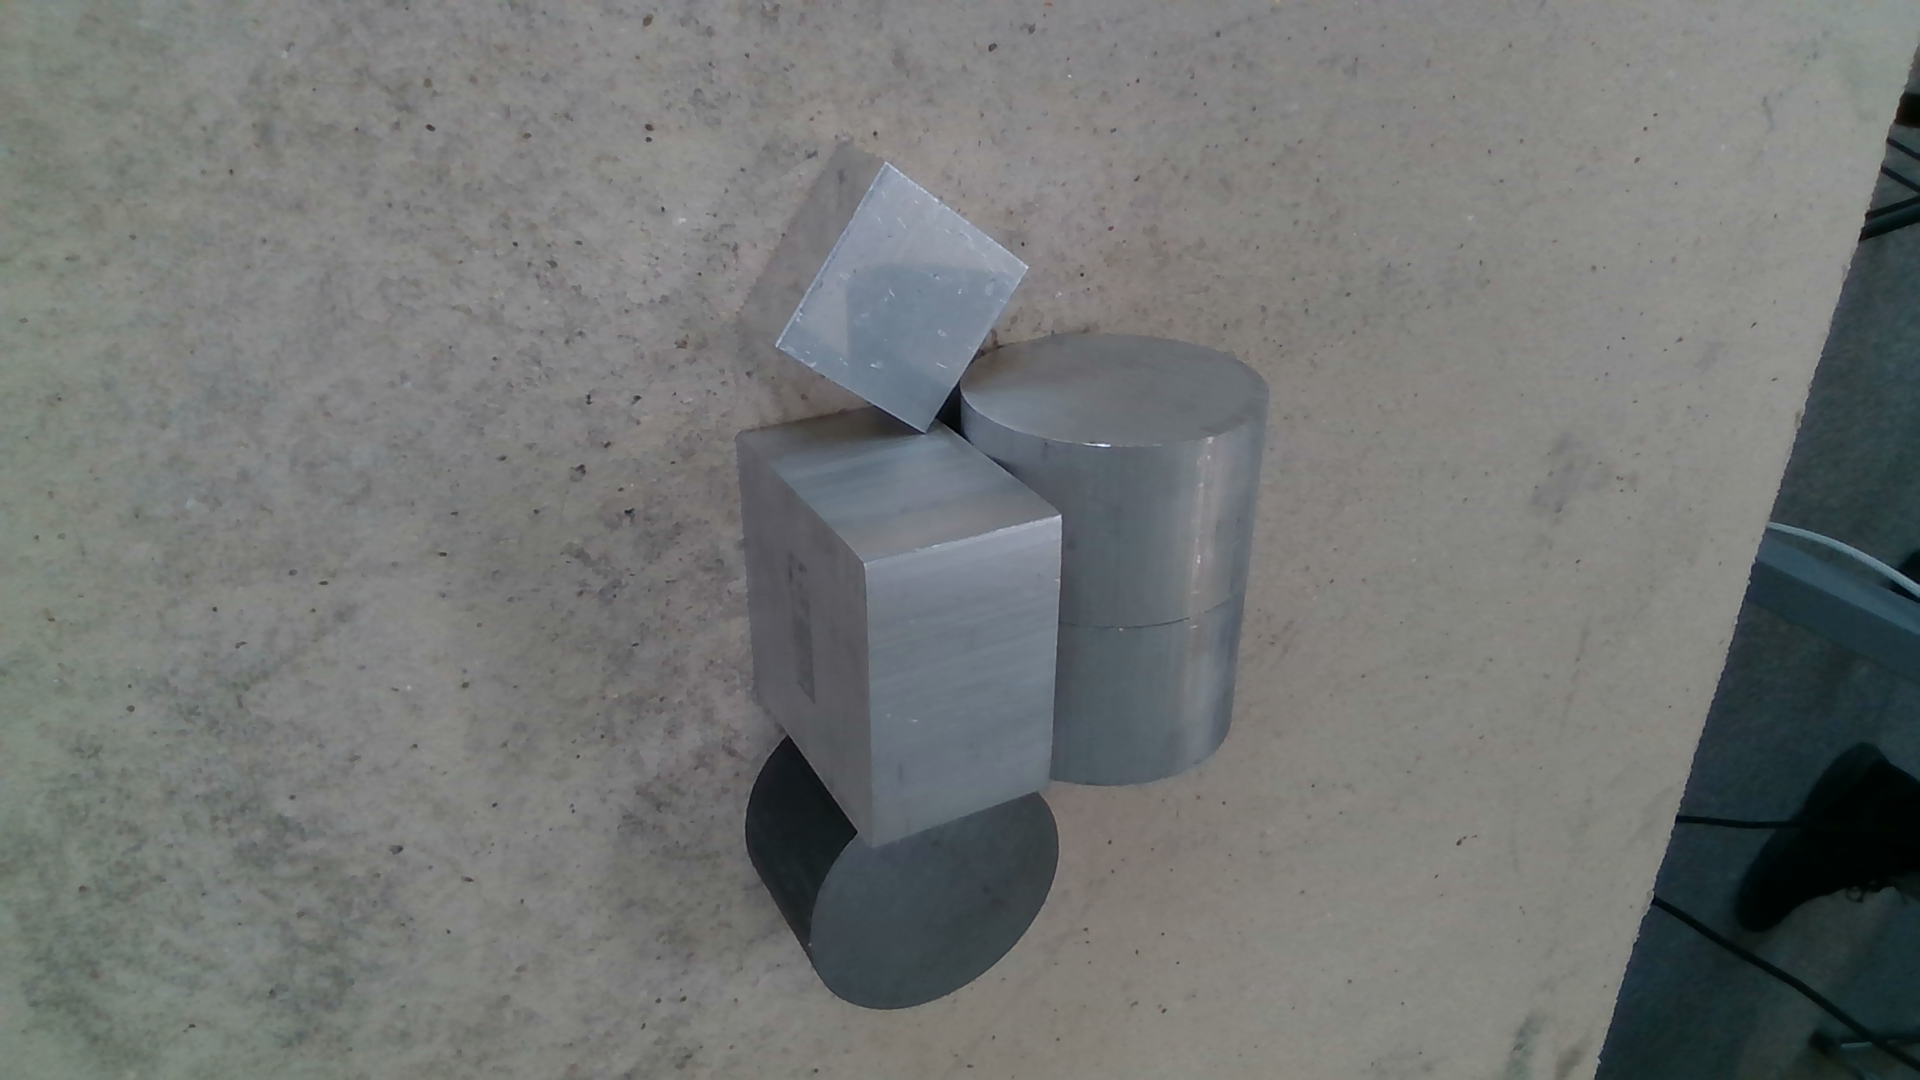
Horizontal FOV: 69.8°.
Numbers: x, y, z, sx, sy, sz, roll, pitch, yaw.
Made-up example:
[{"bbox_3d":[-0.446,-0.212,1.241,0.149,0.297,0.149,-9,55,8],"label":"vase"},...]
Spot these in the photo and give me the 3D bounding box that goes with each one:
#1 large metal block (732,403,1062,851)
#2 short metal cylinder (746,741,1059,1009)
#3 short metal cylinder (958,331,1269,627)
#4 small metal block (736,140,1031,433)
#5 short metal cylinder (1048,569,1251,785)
[{"bbox_3d":[-0.018,0.018,0.354,0.050,0.080,0.080,-14,121,-25],"label":"large metal block"},{"bbox_3d":[-0.018,0.091,0.412,0.080,0.050,0.080,-14,122,-25],"label":"short metal cylinder"},{"bbox_3d":[0.039,-0.019,0.369,0.080,0.080,0.050,-14,121,-25],"label":"short metal cylinder"},{"bbox_3d":[-0.019,-0.063,0.345,0.050,0.025,0.050,27,99,-38],"label":"small metal block"},{"bbox_3d":[0.040,0.025,0.393,0.080,0.080,0.050,-14,121,-25],"label":"short metal cylinder"}]
